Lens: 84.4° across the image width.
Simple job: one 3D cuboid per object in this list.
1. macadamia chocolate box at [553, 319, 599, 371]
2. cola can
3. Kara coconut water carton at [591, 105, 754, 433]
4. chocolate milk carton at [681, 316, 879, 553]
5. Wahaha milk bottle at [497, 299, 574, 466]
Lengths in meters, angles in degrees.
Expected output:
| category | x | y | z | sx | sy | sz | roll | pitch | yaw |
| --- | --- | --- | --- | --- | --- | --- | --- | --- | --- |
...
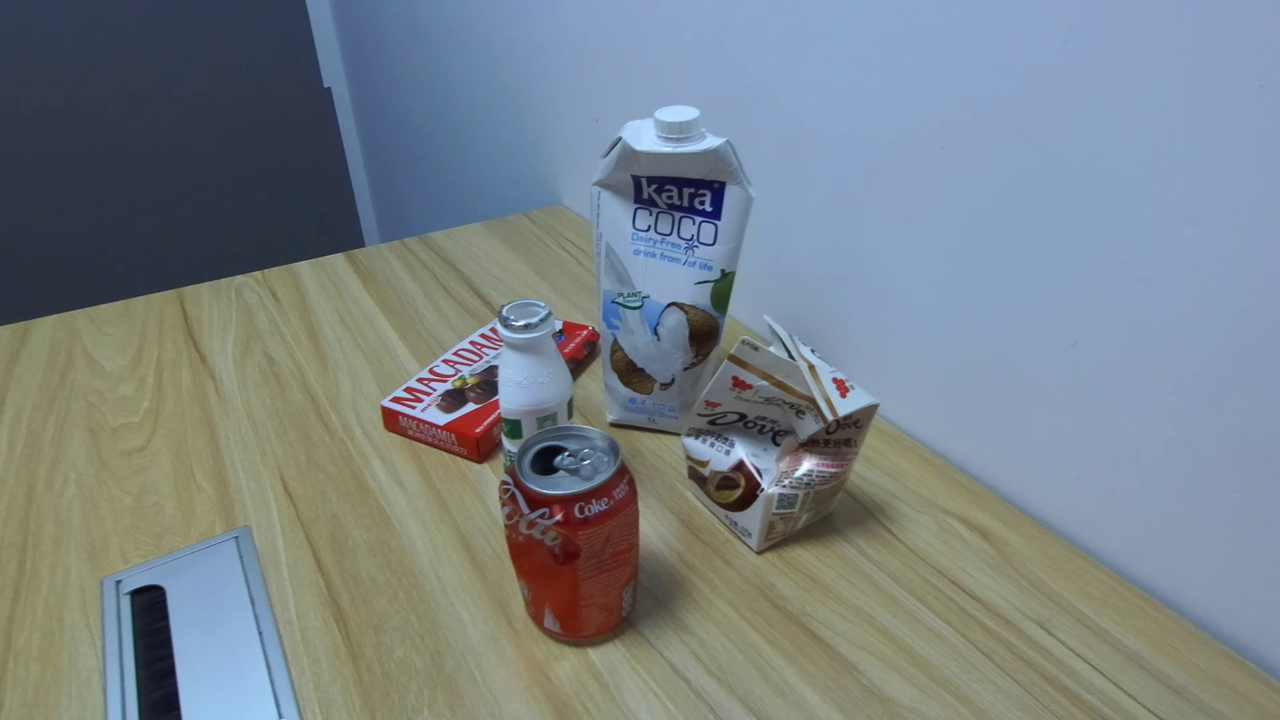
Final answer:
| category | x | y | z | sx | sy | sz | roll | pitch | yaw |
| --- | --- | --- | --- | --- | --- | --- | --- | --- | --- |
| macadamia chocolate box | -0.117 | 0.010 | 0.595 | 0.105 | 0.028 | 0.183 | 16 | 37 | 20 |
| cola can | -0.034 | 0.094 | 0.387 | 0.067 | 0.117 | 0.065 | -23 | 39 | -30 |
| Kara coconut water carton | 0.018 | -0.060 | 0.510 | 0.115 | 0.238 | 0.069 | 9 | 32 | 9 |
| chocolate milk carton | 0.085 | 0.045 | 0.440 | 0.077 | 0.155 | 0.089 | -26 | 56 | -28 |
| Wahaha milk bottle | -0.068 | 0.032 | 0.454 | 0.056 | 0.148 | 0.056 | 1 | 34 | 0 |
